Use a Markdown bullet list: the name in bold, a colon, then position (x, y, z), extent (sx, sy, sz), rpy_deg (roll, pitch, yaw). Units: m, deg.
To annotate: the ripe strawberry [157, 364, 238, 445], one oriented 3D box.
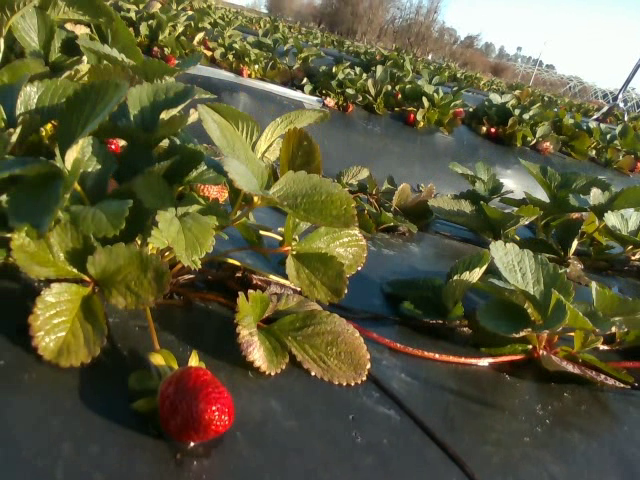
- **ripe strawberry**: position (-0.039, 0.054, 0.195), extent (0.028, 0.031, 0.041), rpy_deg (-18, 3, -29)
